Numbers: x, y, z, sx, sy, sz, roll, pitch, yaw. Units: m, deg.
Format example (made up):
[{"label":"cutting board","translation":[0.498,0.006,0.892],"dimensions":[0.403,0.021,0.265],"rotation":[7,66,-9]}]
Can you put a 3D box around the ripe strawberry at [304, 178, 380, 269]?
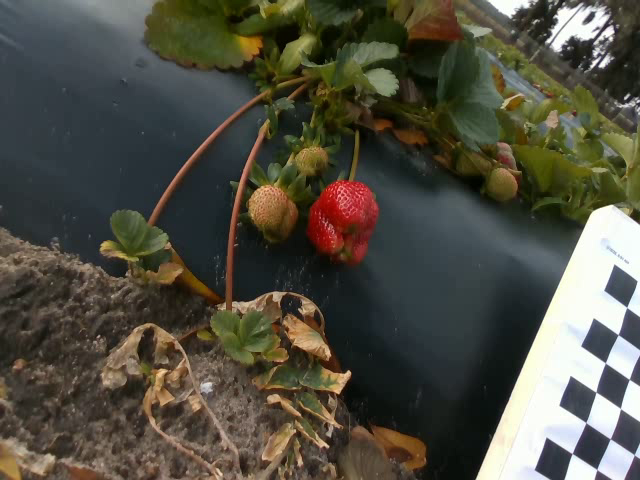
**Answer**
[{"label":"ripe strawberry","translation":[0.020,-0.017,0.391],"dimensions":[0.066,0.075,0.052],"rotation":[16,-15,-15]}]
